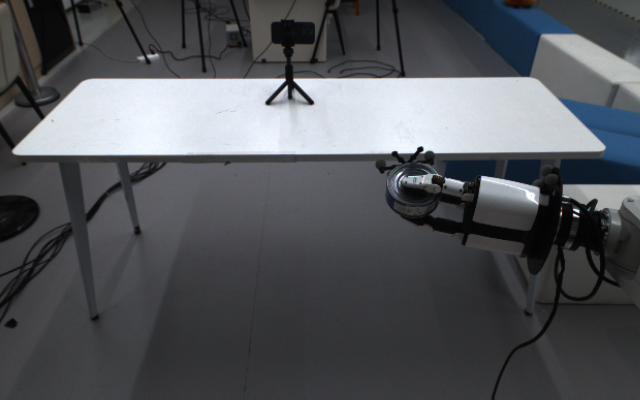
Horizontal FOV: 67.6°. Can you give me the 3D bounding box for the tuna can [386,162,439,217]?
[{"bbox_3d":[0.148,-0.018,0.753,0.085,0.034,0.085,-3,59,5],"label":"tuna can"}]
